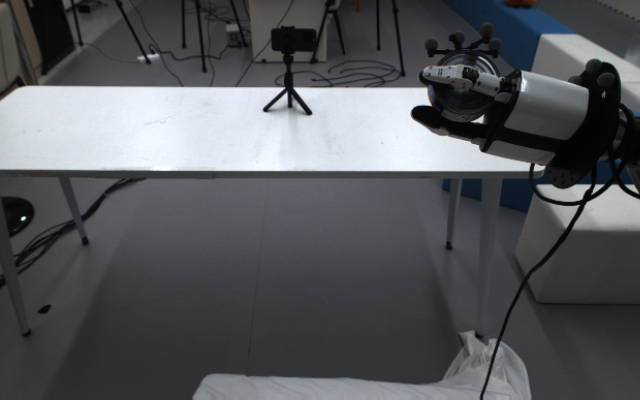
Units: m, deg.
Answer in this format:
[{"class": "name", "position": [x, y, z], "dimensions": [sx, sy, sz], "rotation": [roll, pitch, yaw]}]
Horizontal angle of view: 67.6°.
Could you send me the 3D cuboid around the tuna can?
[{"class": "tuna can", "position": [0.180, -0.145, 0.610], "dimensions": [0.085, 0.034, 0.085], "rotation": [-1, 75, 4]}]
